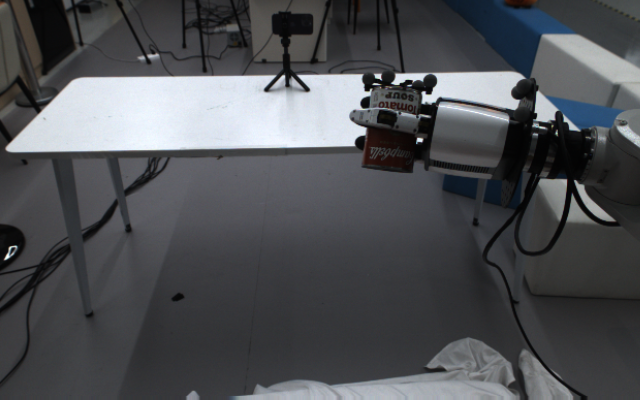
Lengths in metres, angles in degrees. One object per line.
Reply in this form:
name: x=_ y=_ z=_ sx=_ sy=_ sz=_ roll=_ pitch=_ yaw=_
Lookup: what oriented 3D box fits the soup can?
soup can: x=0.094 y=-0.089 z=0.623 sx=0.067 sy=0.101 sz=0.067 roll=7 pitch=3 yaw=0
